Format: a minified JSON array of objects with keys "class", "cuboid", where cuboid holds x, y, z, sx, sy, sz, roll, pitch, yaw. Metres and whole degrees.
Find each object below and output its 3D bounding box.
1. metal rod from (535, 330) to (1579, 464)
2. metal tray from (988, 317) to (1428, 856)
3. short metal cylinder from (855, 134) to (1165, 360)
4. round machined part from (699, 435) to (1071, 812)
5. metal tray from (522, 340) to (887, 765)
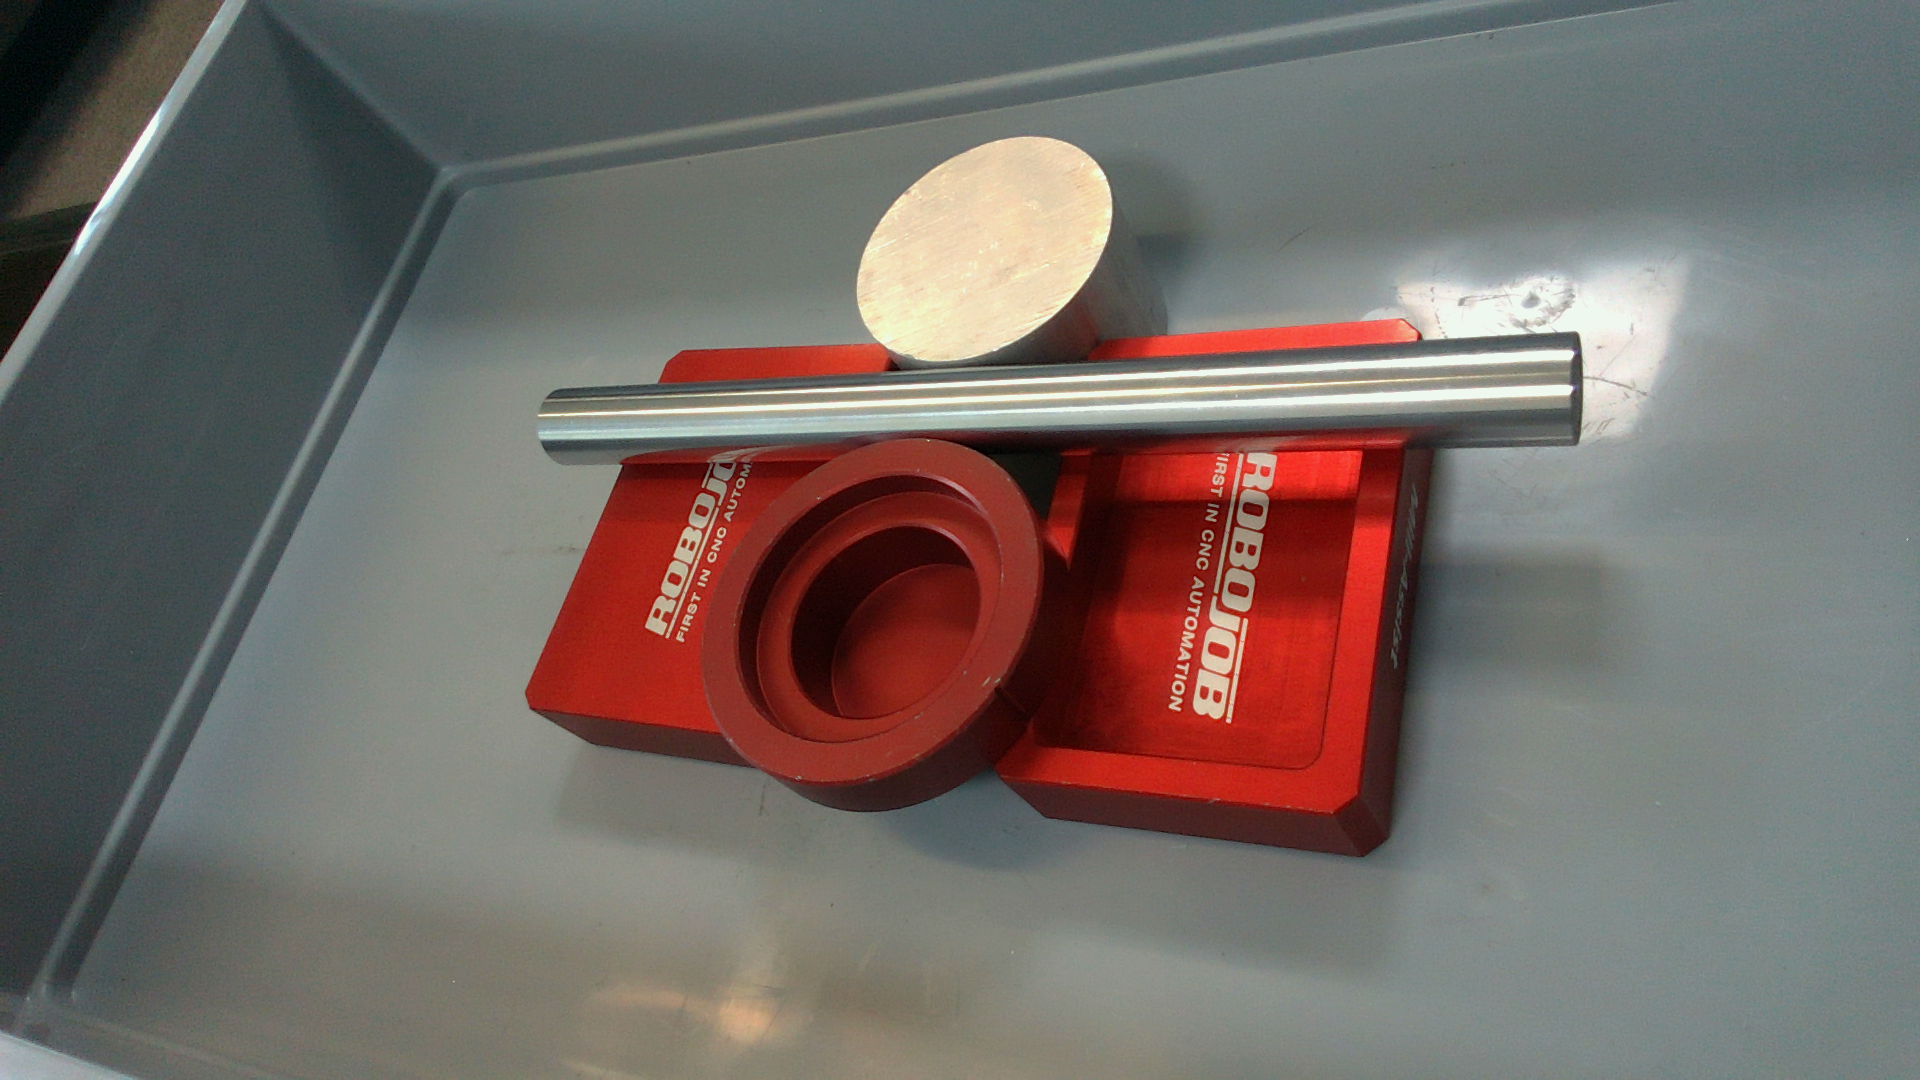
[{"class":"metal rod","cuboid":[0.003,-0.035,0.372,0.299,0.025,0.025,1,62,29]},{"class":"metal tray","cuboid":[0.066,0.008,0.348,0.090,0.030,0.130,1,62,29]},{"class":"short metal cylinder","cuboid":[0.016,-0.073,0.412,0.080,0.050,0.080,-13,56,21]},{"class":"round machined part","cuboid":[-0.016,0.025,0.363,0.098,0.042,0.098,-13,56,21]},{"class":"metal tray","cuboid":[-0.070,0.001,0.425,0.090,0.030,0.130,3,63,30]}]
